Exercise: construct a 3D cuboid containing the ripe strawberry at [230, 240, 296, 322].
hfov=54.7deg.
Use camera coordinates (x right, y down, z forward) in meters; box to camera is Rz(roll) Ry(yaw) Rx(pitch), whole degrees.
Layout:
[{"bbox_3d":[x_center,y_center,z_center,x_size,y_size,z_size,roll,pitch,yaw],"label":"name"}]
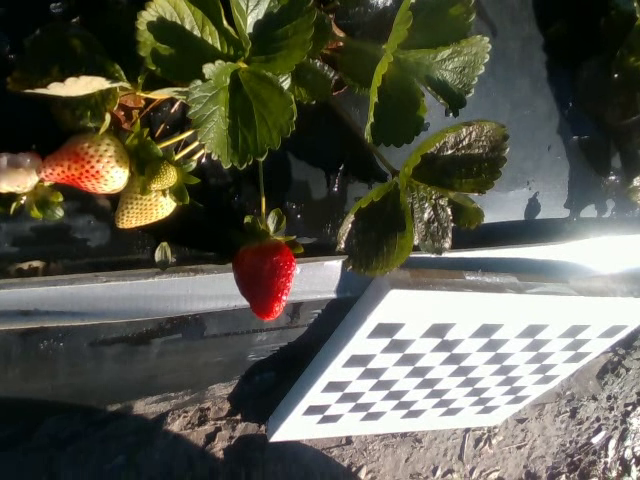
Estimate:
[{"bbox_3d":[-0.029,0.022,0.306,0.036,0.046,0.038,6,-26,-21],"label":"ripe strawberry"}]
